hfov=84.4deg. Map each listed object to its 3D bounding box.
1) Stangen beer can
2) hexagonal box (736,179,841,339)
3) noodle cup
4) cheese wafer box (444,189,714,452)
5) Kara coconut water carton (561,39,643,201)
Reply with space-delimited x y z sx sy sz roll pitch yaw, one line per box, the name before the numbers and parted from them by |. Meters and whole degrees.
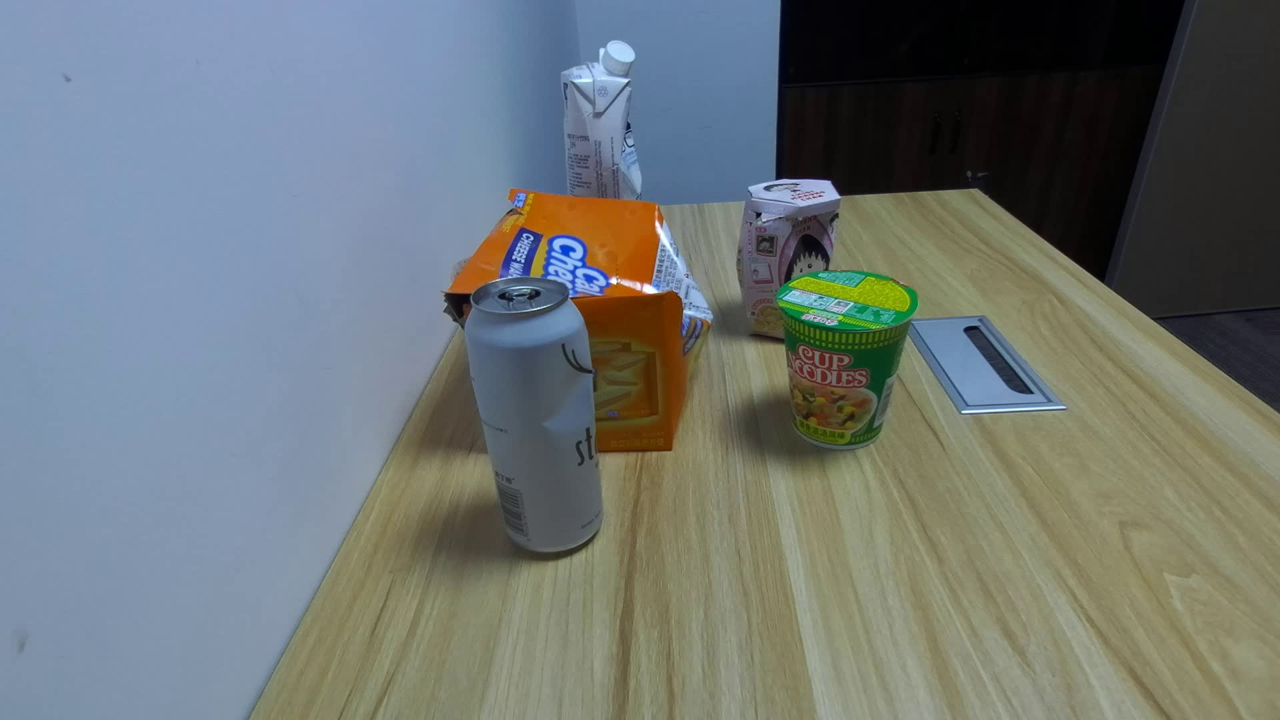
Stangen beer can | -0.059 0.034 0.431 0.069 0.173 0.070 -2 29 4
hexagonal box | 0.138 -0.094 0.663 0.091 0.134 0.090 3 27 13
noodle cup | 0.148 0.003 0.517 0.097 0.110 0.097 -4 29 3
cheese wafer box | -0.035 -0.046 0.594 0.191 0.145 0.218 -3 30 4
Kara coconut water carton | -0.037 -0.186 0.722 0.078 0.256 0.083 -1 30 4
